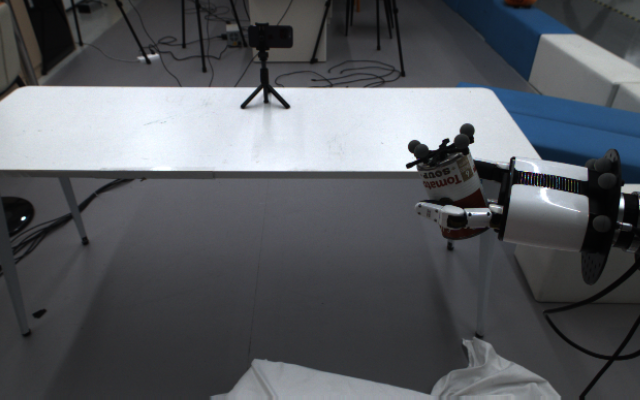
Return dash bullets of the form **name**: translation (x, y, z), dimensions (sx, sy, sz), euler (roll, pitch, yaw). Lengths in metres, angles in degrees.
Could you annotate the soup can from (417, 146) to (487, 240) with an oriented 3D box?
- **soup can**: translation (0.171, -0.012, 0.608), dimensions (0.067, 0.101, 0.067), euler (-23, 16, 7)
